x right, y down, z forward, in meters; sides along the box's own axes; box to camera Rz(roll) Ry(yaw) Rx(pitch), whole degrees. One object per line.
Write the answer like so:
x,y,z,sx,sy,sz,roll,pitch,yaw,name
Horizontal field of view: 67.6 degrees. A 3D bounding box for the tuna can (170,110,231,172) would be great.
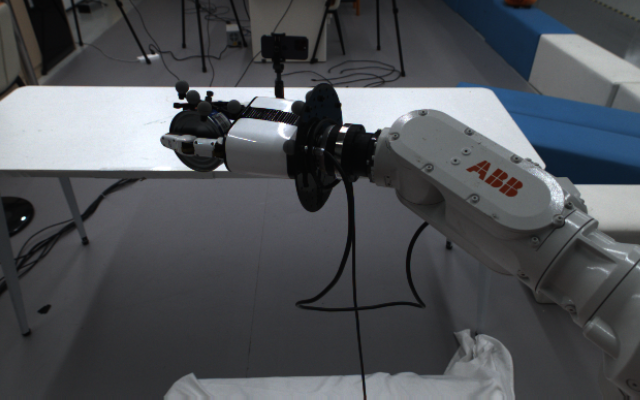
-0.155,-0.083,0.646,0.085,0.085,0.034,16,29,19,tuna can
